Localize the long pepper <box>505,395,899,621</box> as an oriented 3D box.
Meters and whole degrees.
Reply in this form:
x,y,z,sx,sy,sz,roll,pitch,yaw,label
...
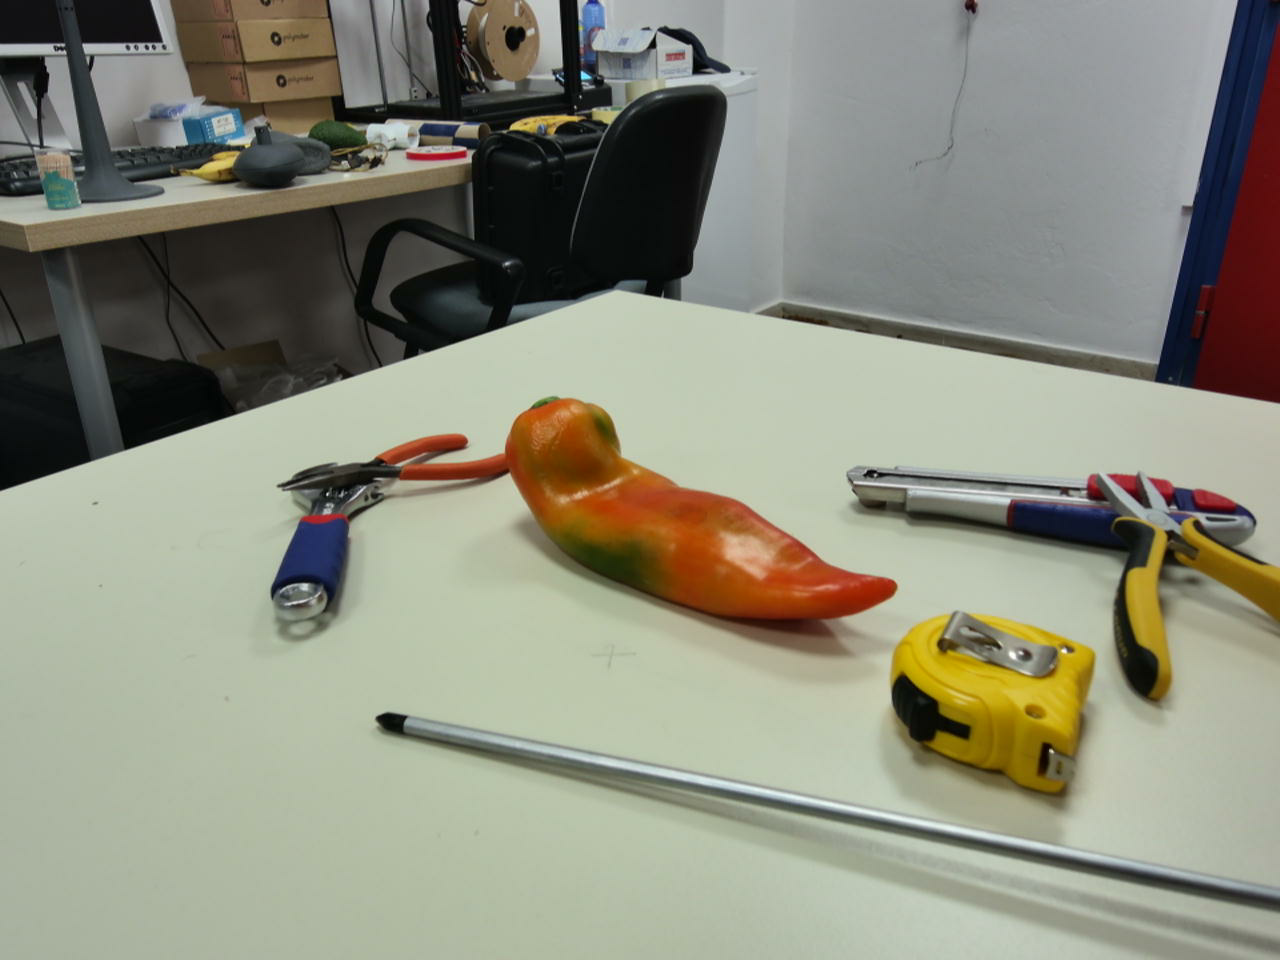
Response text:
x,y,z,sx,sy,sz,roll,pitch,yaw,label
0.017,0.012,0.430,0.199,0.065,0.066,20,30,40,long pepper
